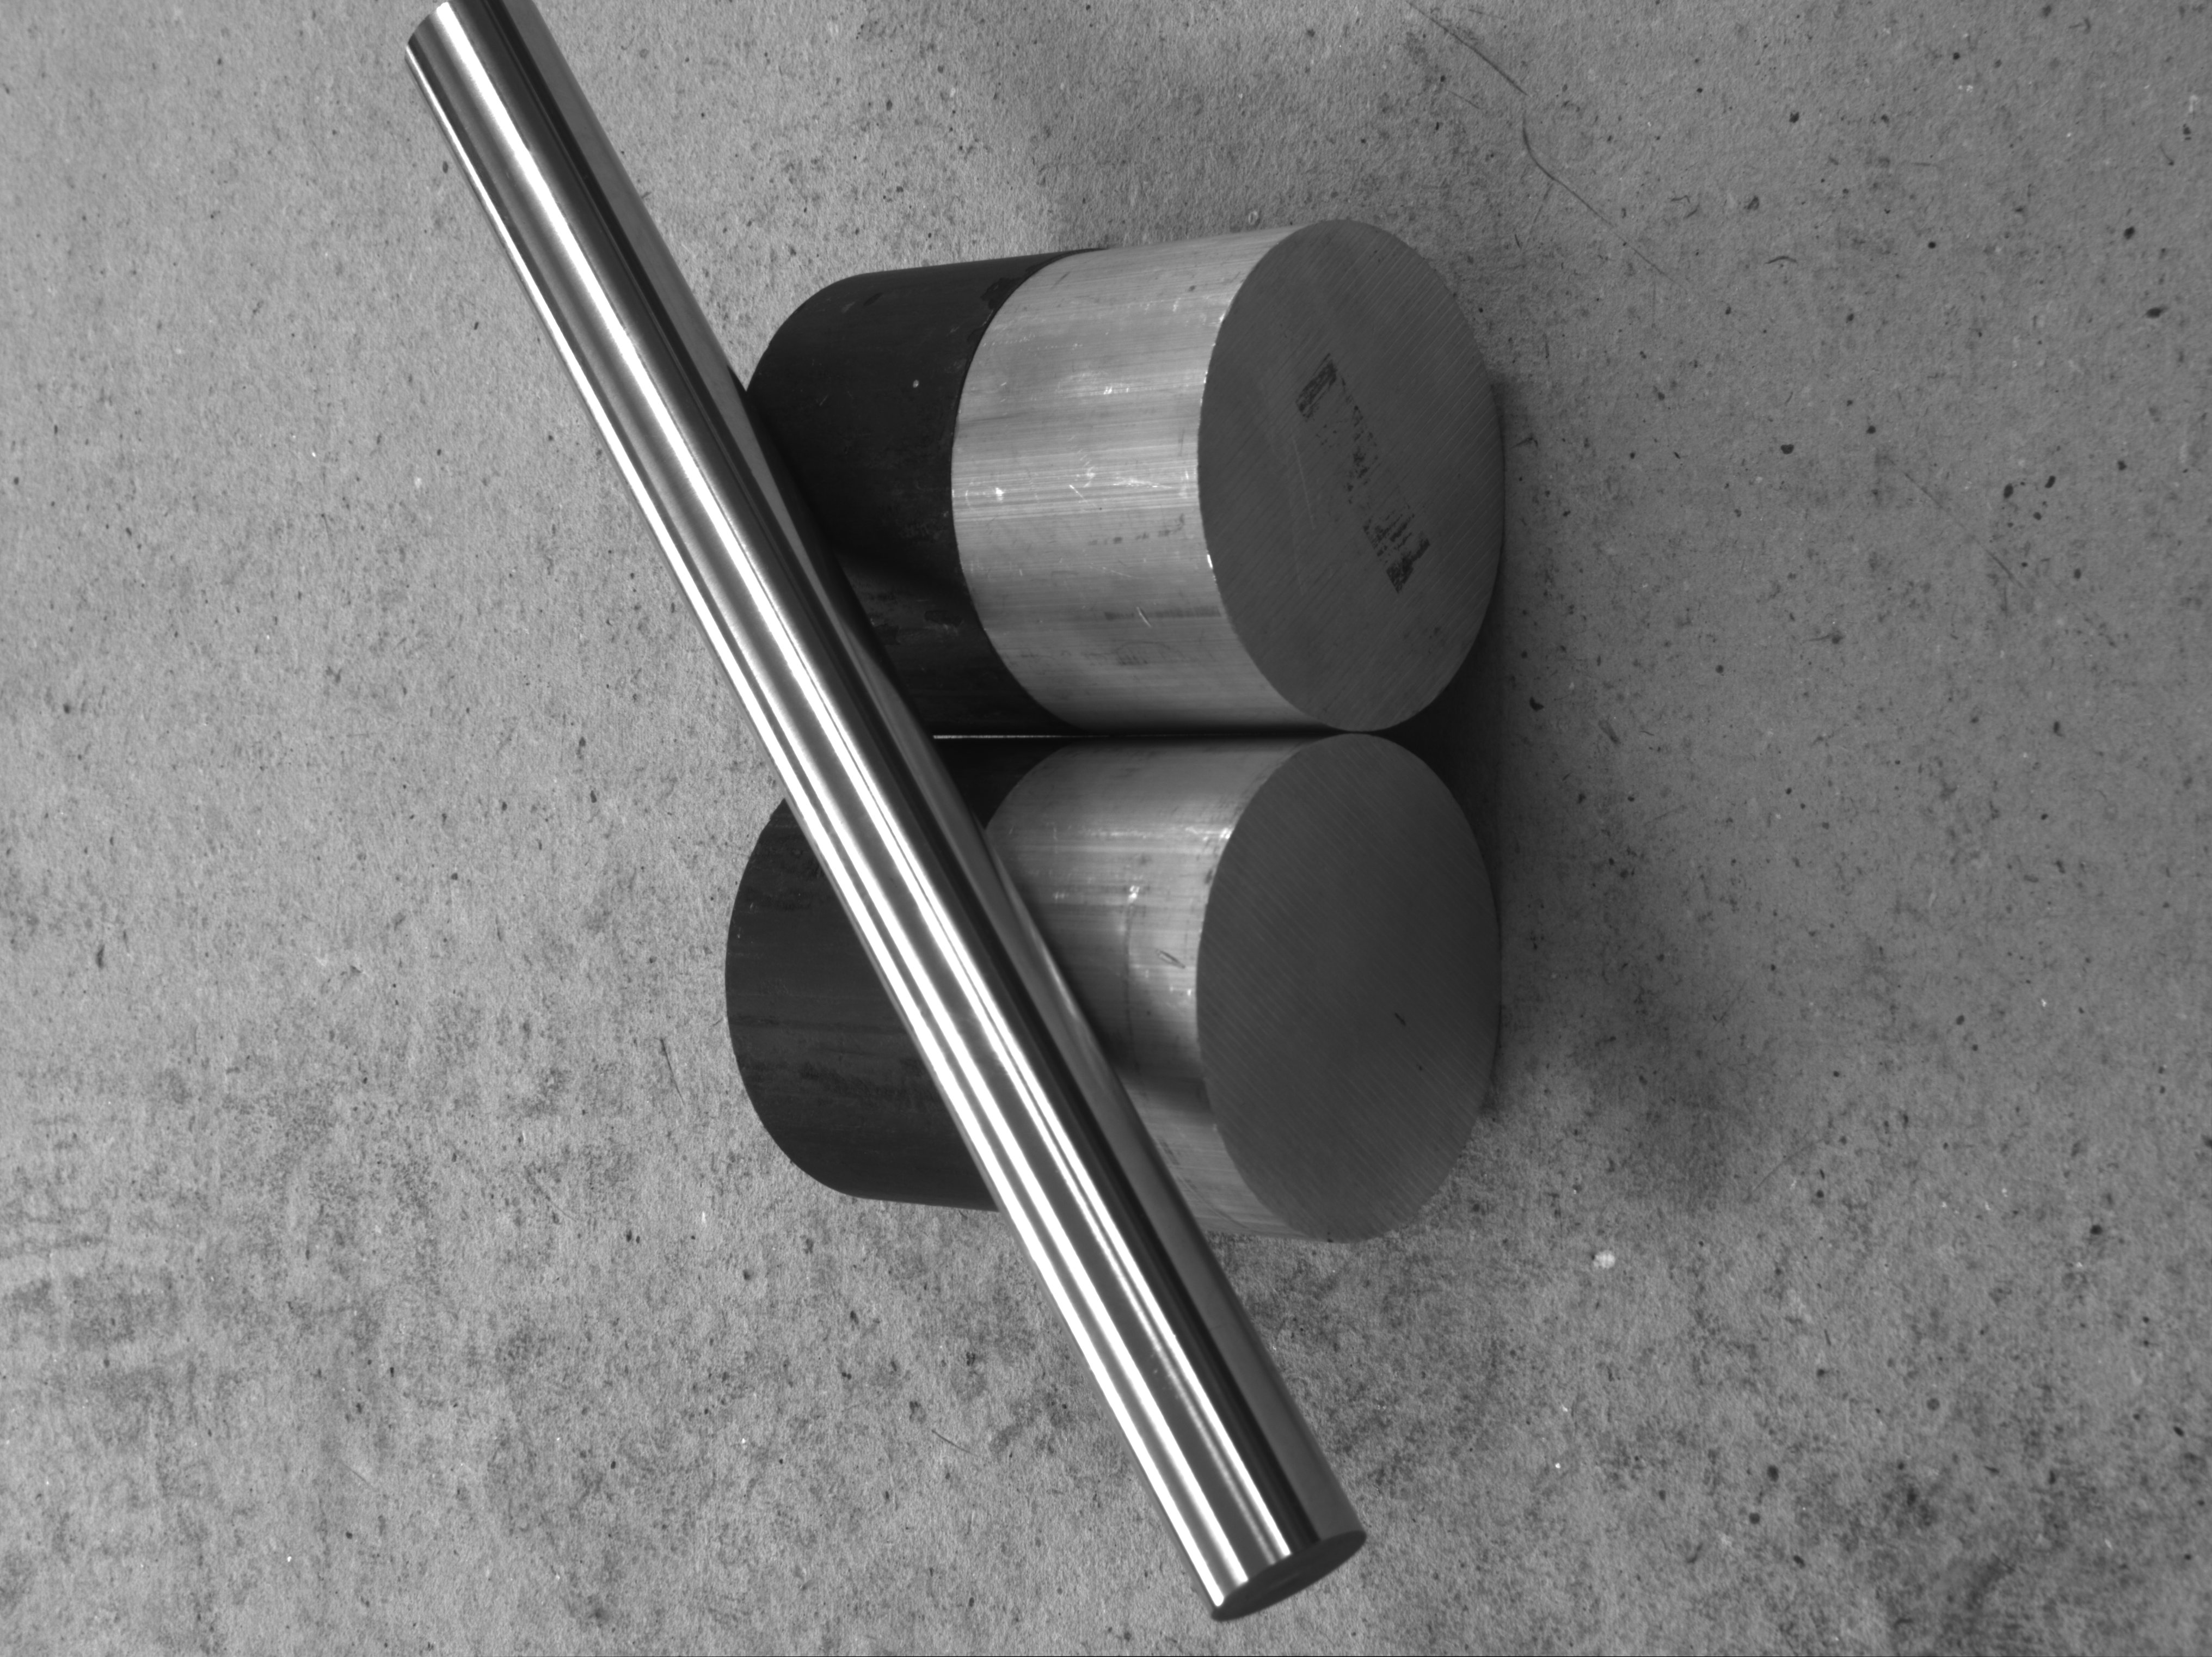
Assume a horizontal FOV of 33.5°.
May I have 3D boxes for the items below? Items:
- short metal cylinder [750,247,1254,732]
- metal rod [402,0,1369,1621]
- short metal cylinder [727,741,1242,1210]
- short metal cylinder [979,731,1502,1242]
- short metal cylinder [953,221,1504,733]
[{"bbox_3d":[-0.017,-0.056,0.625,0.050,0.080,0.080,1,90,40],"label":"short metal cylinder"},{"bbox_3d":[-0.042,-0.015,0.576,0.025,0.025,0.300,-44,64,31],"label":"metal rod"},{"bbox_3d":[-0.018,0.025,0.625,0.050,0.080,0.080,1,90,40],"label":"short metal cylinder"},{"bbox_3d":[0.020,0.025,0.593,0.050,0.080,0.080,1,90,40],"label":"short metal cylinder"},{"bbox_3d":[0.021,-0.055,0.593,0.050,0.080,0.080,1,90,40],"label":"short metal cylinder"}]
